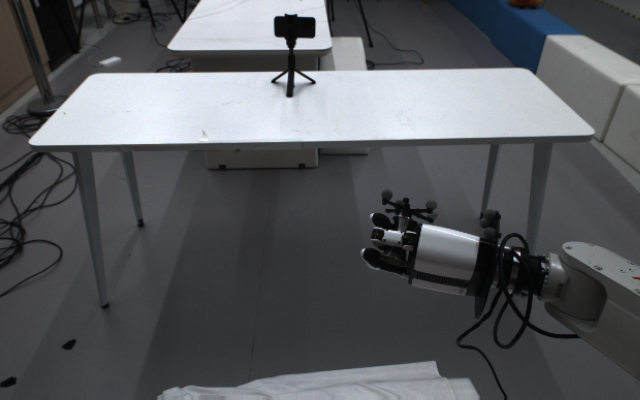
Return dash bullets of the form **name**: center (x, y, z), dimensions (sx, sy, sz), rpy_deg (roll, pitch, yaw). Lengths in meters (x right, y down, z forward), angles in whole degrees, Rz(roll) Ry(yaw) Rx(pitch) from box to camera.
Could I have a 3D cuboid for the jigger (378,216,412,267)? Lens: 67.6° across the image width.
- **jigger**: center (0.124, 0.062, 0.738), dimensions (0.043, 0.043, 0.071), rpy_deg (13, 69, 15)
